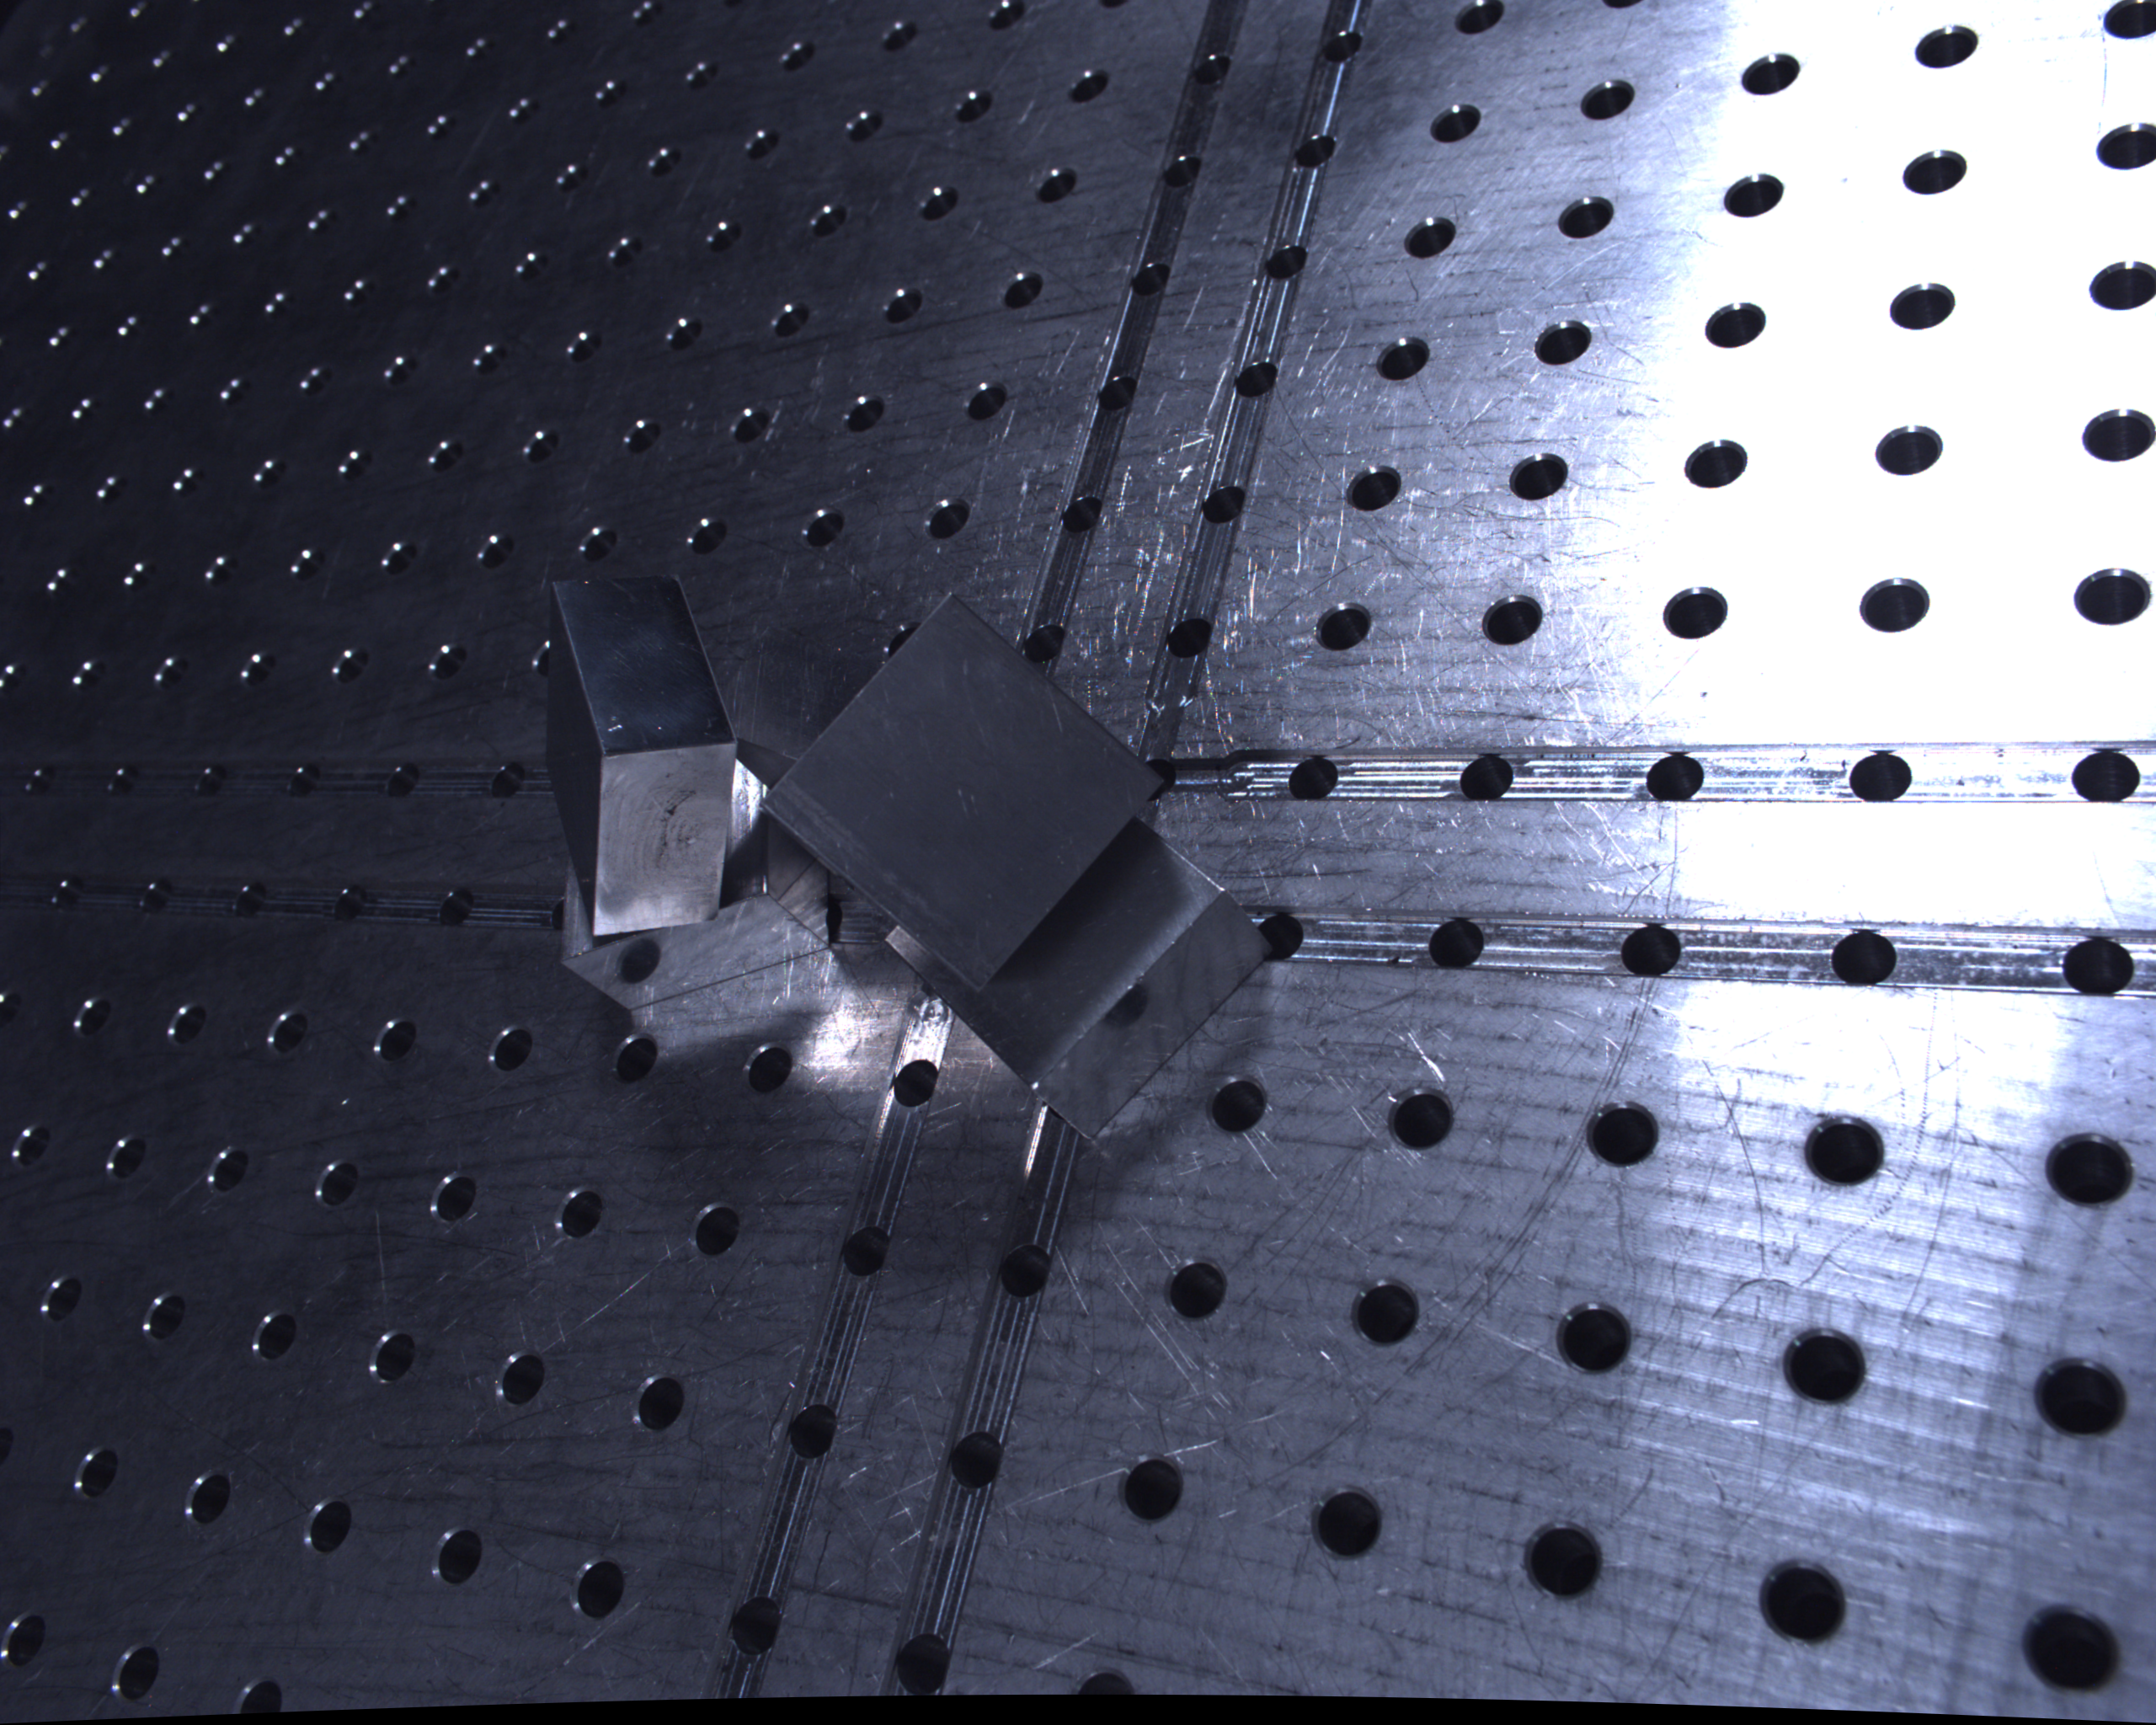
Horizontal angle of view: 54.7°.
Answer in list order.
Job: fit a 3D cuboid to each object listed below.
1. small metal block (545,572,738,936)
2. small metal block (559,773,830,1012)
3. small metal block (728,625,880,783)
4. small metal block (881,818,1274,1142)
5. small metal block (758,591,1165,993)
[{"bbox_3d":[-0.088,-0.022,0.414,0.025,0.050,0.050,-7,49,-22],"label":"small metal block"},{"bbox_3d":[-0.082,-0.001,0.451,0.050,0.025,0.050,-18,55,17],"label":"small metal block"},{"bbox_3d":[-0.039,-0.019,0.423,0.050,0.050,0.025,20,73,35],"label":"small metal block"},{"bbox_3d":[0.000,0.016,0.398,0.050,0.025,0.050,-46,51,-4],"label":"small metal block"},{"bbox_3d":[-0.022,-0.012,0.376,0.050,0.025,0.050,42,83,-6],"label":"small metal block"}]
